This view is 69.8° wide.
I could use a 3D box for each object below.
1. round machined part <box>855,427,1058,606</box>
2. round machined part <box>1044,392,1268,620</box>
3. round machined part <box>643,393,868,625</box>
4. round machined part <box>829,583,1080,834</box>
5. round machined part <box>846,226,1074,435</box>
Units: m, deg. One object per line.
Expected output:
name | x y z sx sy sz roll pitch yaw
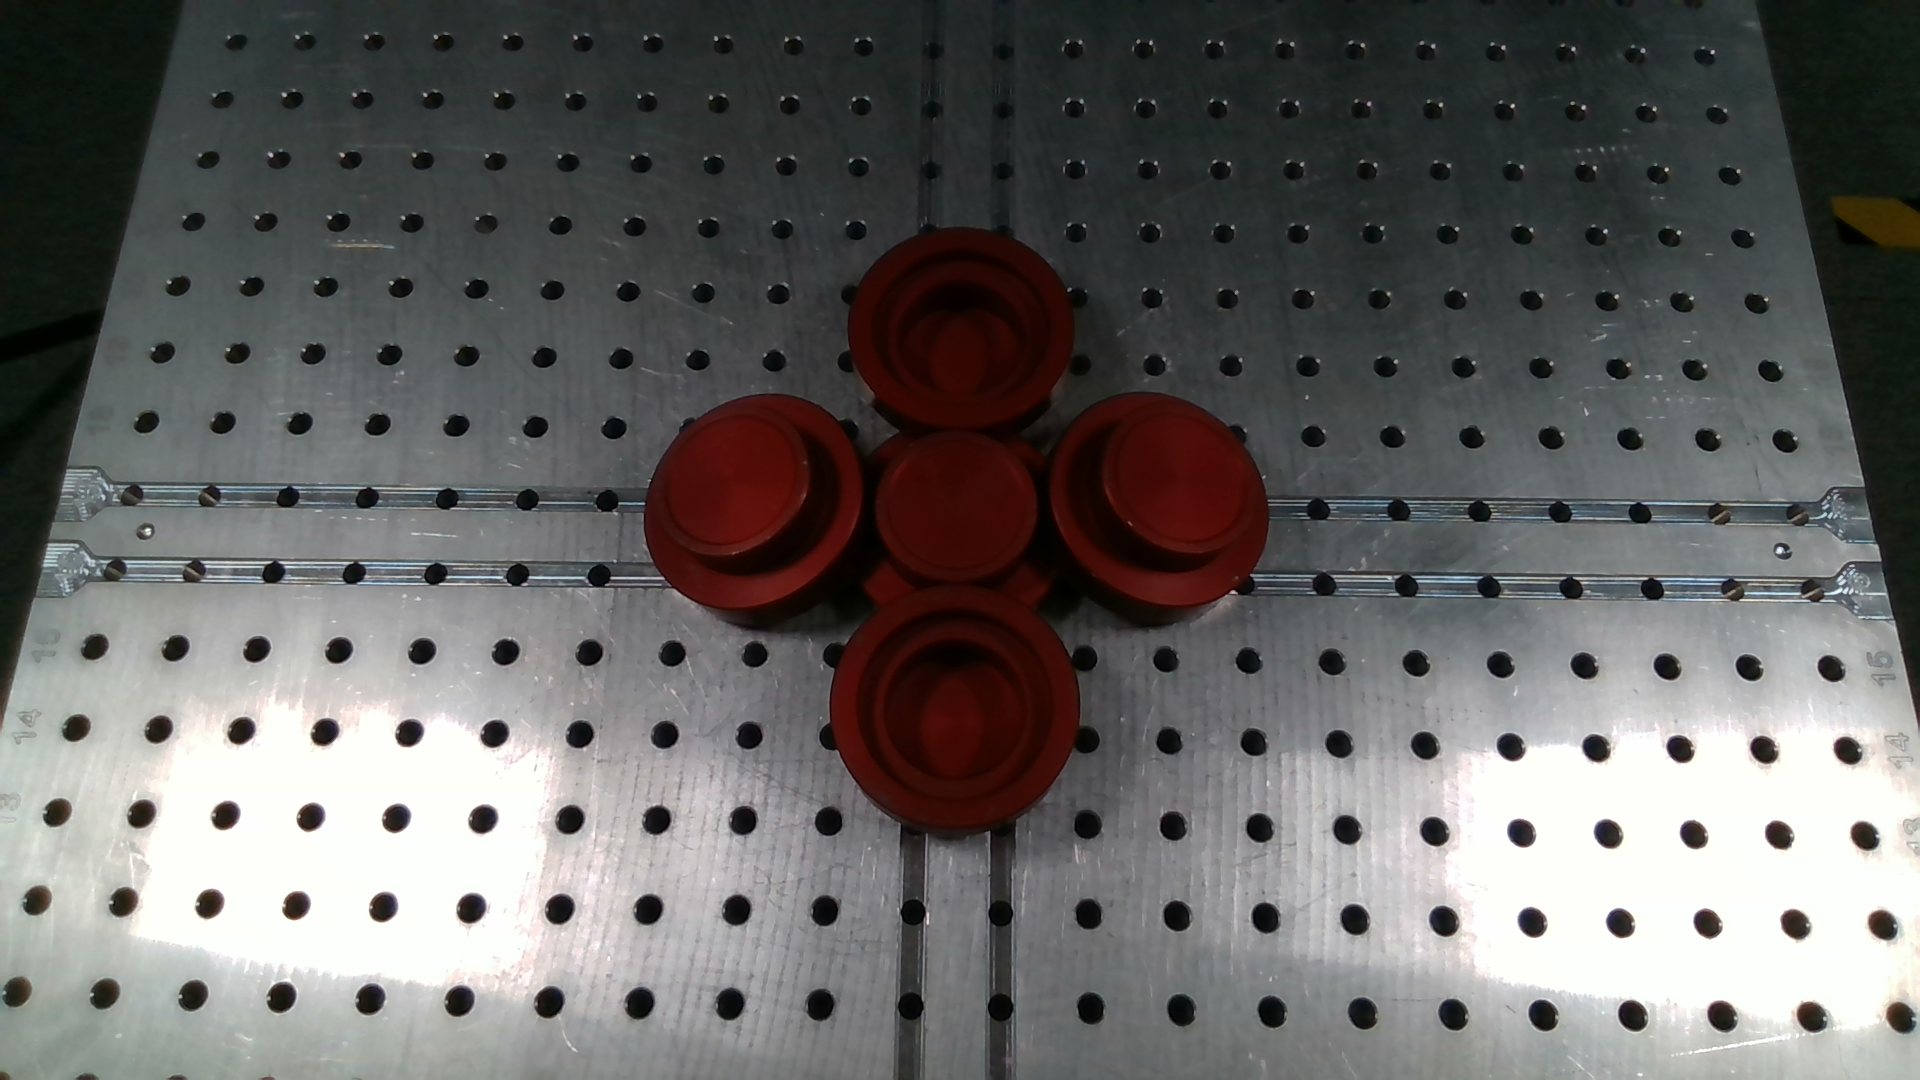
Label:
round machined part | -0.002 -0.009 0.584 0.098 0.042 0.098 0 70 0
round machined part | 0.084 -0.019 0.576 0.098 0.042 0.098 5 68 -13
round machined part | -0.088 -0.017 0.575 0.098 0.042 0.098 -5 70 14
round machined part | -0.002 0.070 0.556 0.098 0.042 0.098 0 70 0
round machined part | 0.000 -0.086 0.612 0.098 0.042 0.098 0 70 0
